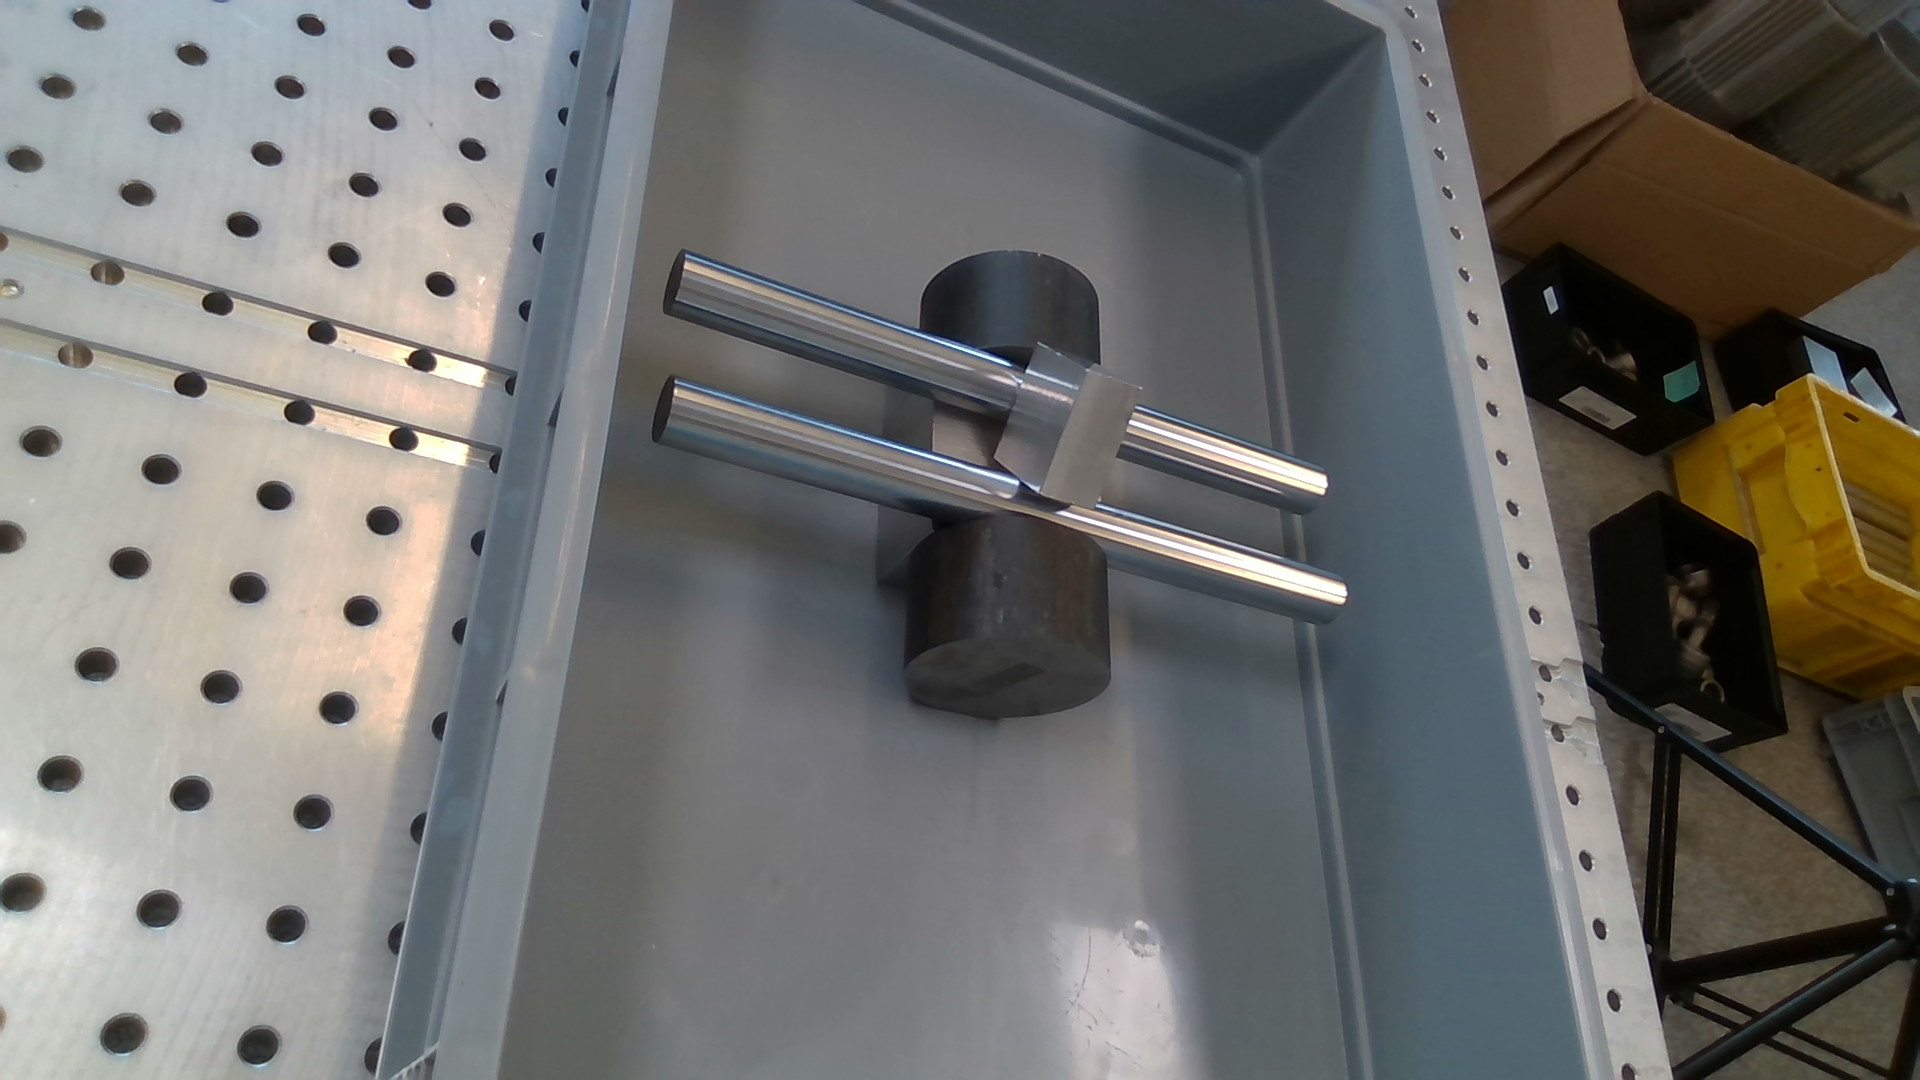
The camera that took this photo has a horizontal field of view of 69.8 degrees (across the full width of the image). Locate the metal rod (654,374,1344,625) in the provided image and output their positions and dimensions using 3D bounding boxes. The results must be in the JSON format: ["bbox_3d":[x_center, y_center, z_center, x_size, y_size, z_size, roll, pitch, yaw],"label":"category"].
[{"bbox_3d":[0.028,-0.010,0.544,0.300,0.025,0.025,15,58,-24],"label":"metal rod"}]

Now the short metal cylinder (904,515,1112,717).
[{"bbox_3d":[0.018,0.032,0.543,0.080,0.080,0.050,15,57,-24],"label":"short metal cylinder"}]

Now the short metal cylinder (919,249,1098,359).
[{"bbox_3d":[0.021,-0.082,0.607,0.080,0.080,0.050,16,58,-24],"label":"short metal cylinder"}]

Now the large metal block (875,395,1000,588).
[{"bbox_3d":[0.012,-0.019,0.586,0.080,0.050,0.080,15,58,-24],"label":"large metal block"}]

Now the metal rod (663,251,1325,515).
[{"bbox_3d":[0.027,-0.059,0.569,0.300,0.025,0.025,15,58,-24],"label":"metal rod"}]

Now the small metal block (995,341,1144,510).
[{"bbox_3d":[0.041,-0.045,0.537,0.025,0.050,0.050,15,14,-24],"label":"small metal block"}]
